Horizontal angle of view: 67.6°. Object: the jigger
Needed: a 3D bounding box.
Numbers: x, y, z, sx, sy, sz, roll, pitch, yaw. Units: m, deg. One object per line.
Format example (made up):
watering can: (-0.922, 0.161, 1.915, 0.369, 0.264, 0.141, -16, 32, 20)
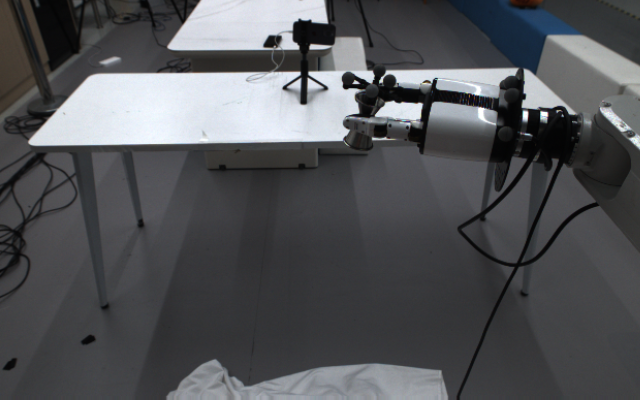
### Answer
jigger: (0.060, -0.108, 0.669, 0.043, 0.071, 0.043, 10, 36, -7)
